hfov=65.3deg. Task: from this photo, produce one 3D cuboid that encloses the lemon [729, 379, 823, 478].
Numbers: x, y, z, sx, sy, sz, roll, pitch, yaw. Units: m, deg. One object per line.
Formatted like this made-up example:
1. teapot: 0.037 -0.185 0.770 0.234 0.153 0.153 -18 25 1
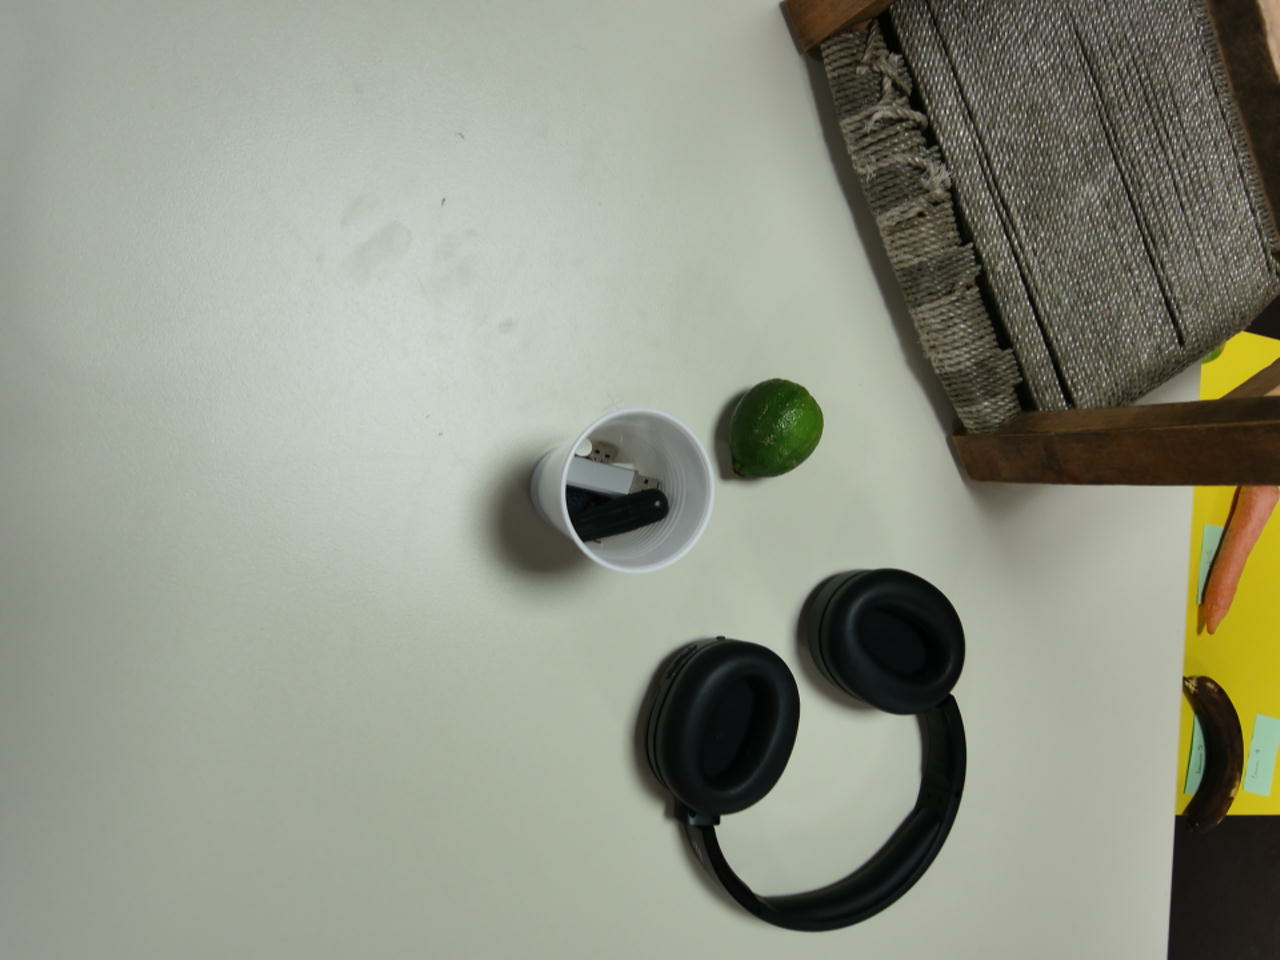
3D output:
1. lemon: 0.079 -0.030 0.583 0.054 0.051 0.057 1 90 -22
